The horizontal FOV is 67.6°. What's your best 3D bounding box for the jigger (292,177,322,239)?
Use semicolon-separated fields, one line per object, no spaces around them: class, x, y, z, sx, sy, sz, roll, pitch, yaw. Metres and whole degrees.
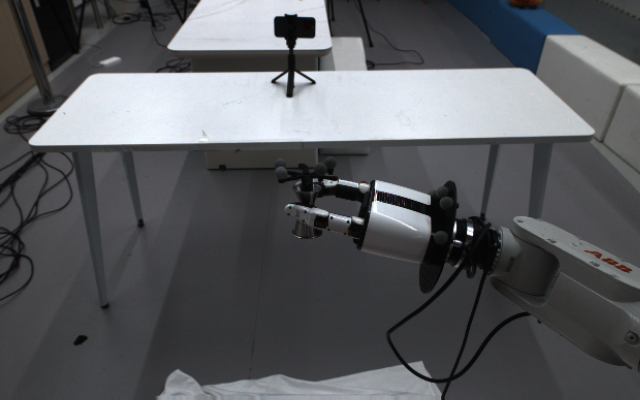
jigger;-0.018;0.014;0.672;0.043;0.071;0.043;0;21;0
